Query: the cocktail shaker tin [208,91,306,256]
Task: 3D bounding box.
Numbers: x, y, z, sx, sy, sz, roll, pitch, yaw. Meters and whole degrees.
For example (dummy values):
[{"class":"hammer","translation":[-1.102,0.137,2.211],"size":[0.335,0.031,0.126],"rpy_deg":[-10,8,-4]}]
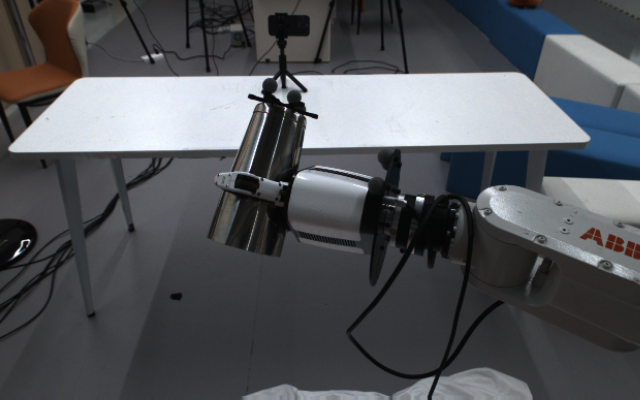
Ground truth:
[{"class":"cocktail shaker tin","translation":[-0.068,-0.025,0.587],"size":[0.093,0.170,0.093],"rpy_deg":[15,-4,1]}]
